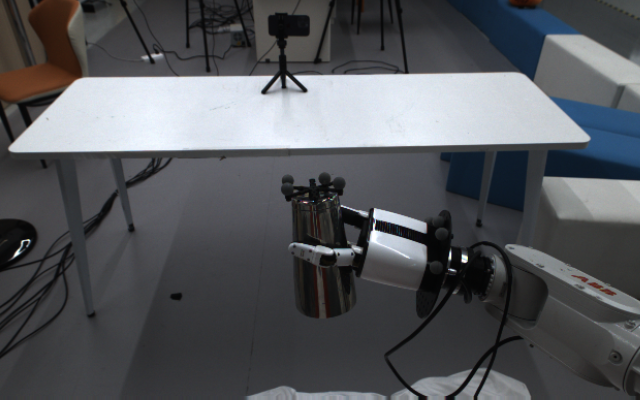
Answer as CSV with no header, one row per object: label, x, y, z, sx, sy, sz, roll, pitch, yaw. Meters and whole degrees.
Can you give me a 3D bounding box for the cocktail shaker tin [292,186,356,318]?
cocktail shaker tin,0.001,0.072,0.697,0.093,0.170,0.093,-6,19,2
